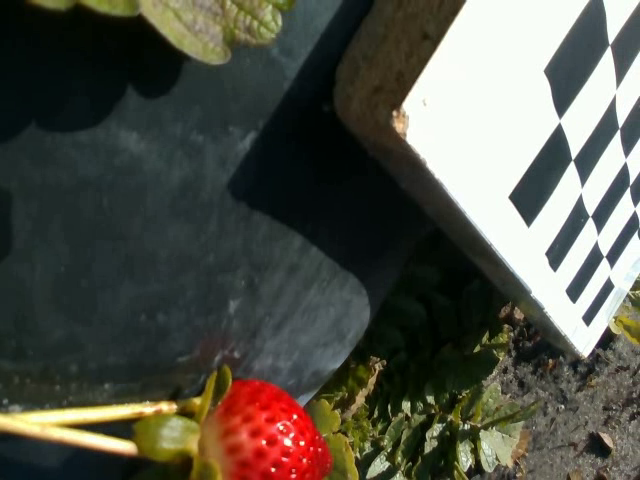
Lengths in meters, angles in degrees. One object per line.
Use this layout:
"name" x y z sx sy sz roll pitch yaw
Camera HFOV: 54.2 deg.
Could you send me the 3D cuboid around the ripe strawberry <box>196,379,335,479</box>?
"ripe strawberry" -0.012 0.050 0.141 0.044 0.040 0.036 9 19 -39
